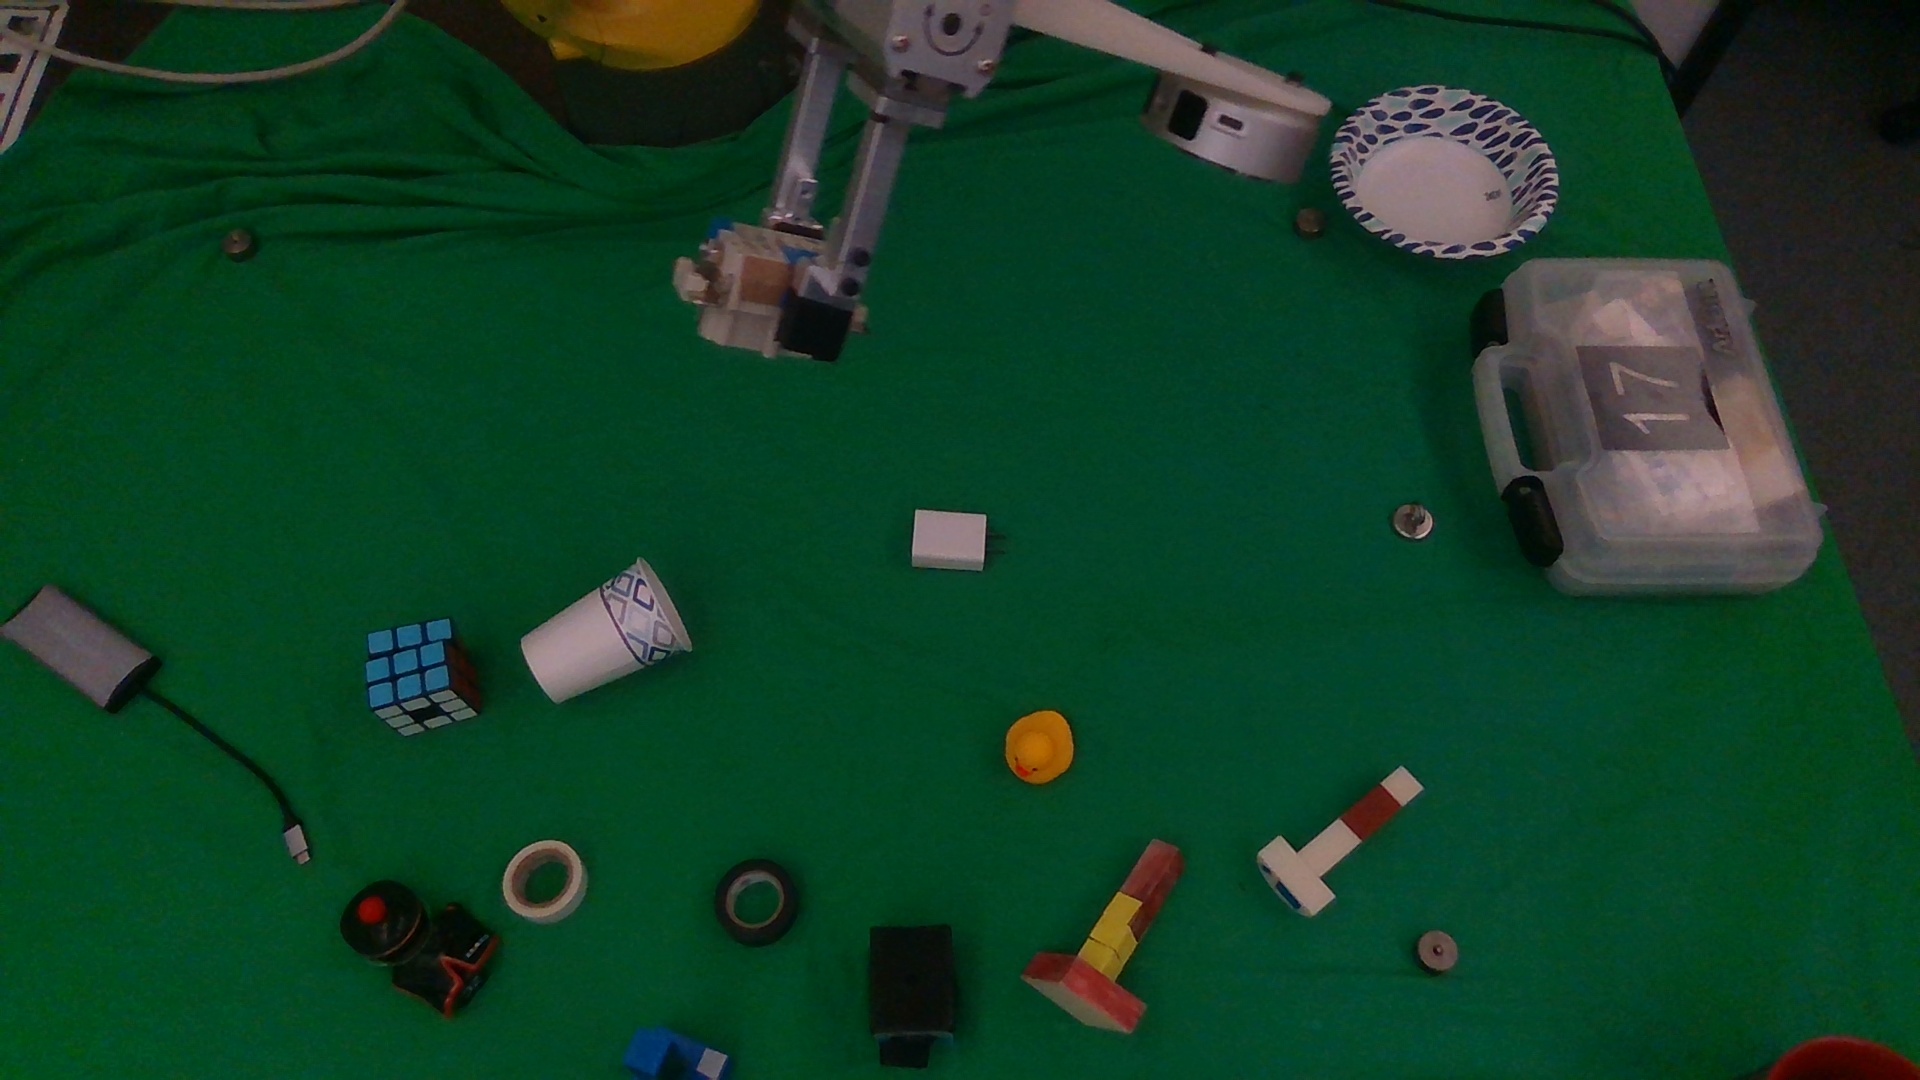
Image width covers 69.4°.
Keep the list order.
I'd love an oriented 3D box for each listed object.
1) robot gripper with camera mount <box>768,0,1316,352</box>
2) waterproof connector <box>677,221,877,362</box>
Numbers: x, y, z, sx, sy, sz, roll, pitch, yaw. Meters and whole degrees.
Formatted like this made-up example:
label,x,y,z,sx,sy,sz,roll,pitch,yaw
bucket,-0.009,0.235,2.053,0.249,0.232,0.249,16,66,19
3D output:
label,x,y,z,sx,sy,sz,roll,pitch,yaw
robot gripper with camera mount,0.030,-0.140,0.489,0.193,0.159,0.119,3,28,-34
waterproof connector,-0.062,-0.082,0.470,0.065,0.037,0.035,4,33,-29
